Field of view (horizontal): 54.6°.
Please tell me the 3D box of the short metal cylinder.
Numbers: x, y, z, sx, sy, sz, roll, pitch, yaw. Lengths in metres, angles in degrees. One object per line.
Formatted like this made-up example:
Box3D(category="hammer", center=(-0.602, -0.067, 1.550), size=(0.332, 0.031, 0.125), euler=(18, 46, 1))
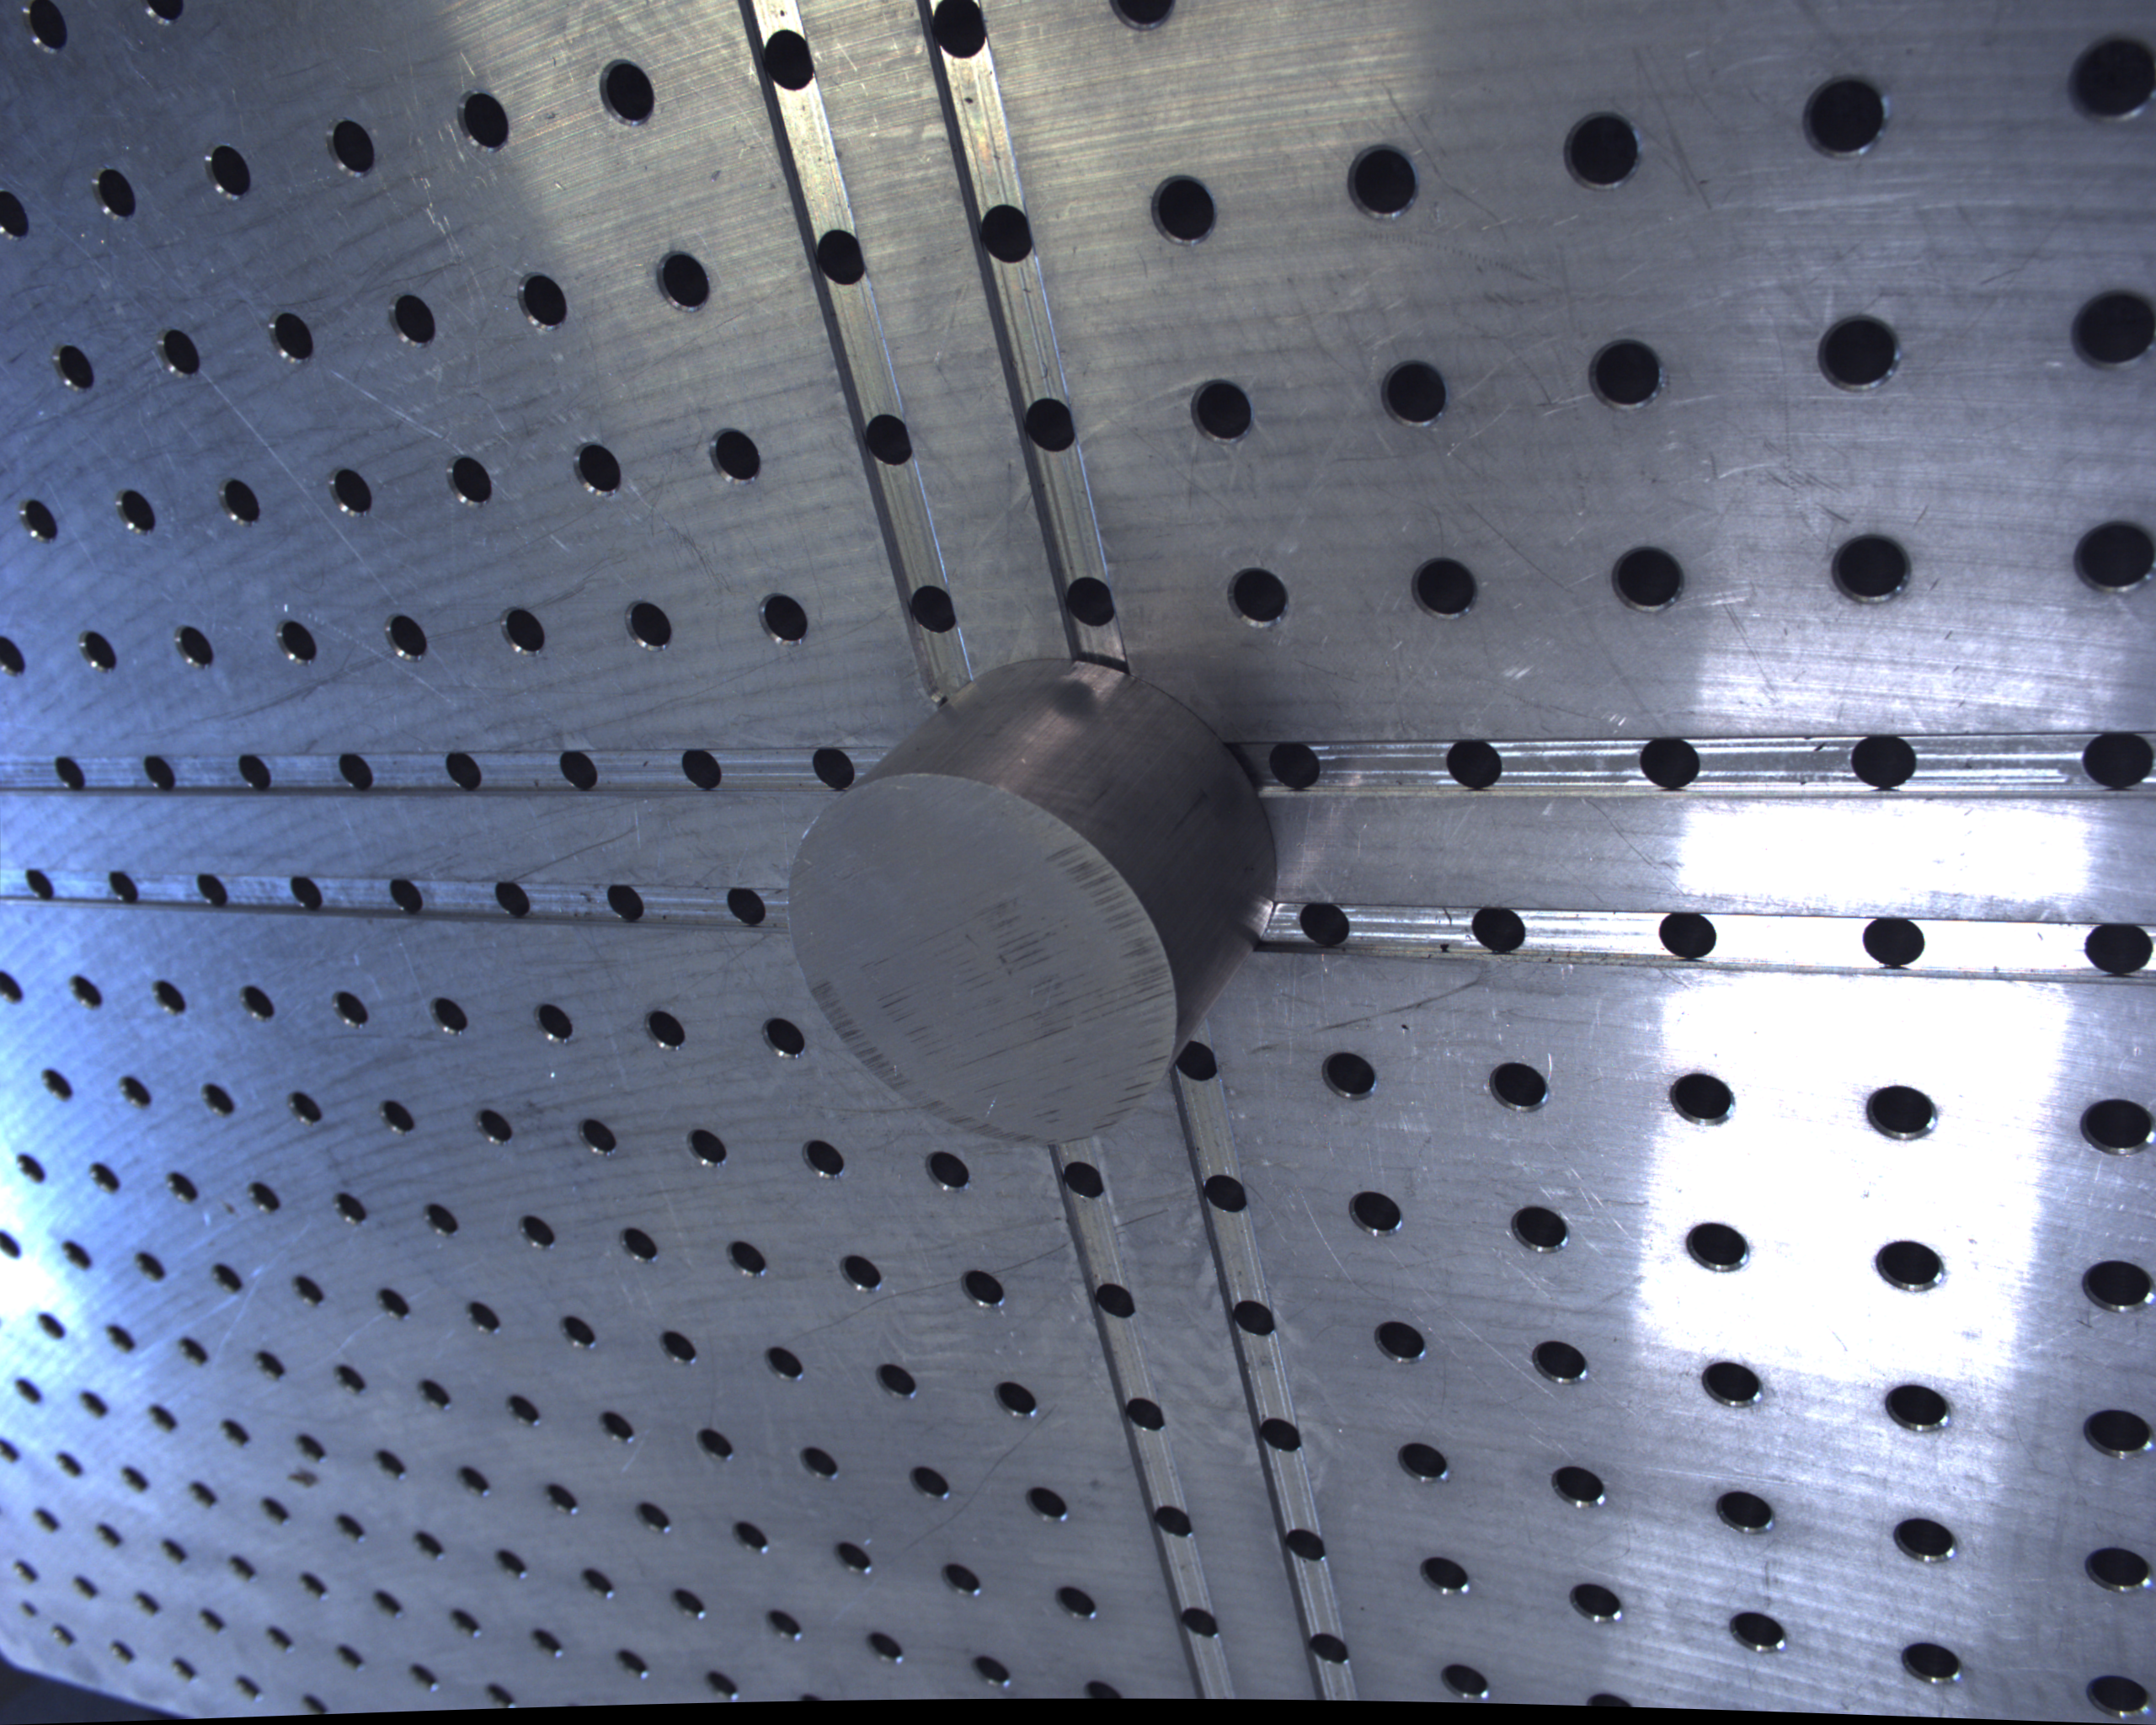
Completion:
Box3D(category="short metal cylinder", center=(-0.008, 0.008, 0.405), size=(0.080, 0.050, 0.080), euler=(13, 124, 21))
